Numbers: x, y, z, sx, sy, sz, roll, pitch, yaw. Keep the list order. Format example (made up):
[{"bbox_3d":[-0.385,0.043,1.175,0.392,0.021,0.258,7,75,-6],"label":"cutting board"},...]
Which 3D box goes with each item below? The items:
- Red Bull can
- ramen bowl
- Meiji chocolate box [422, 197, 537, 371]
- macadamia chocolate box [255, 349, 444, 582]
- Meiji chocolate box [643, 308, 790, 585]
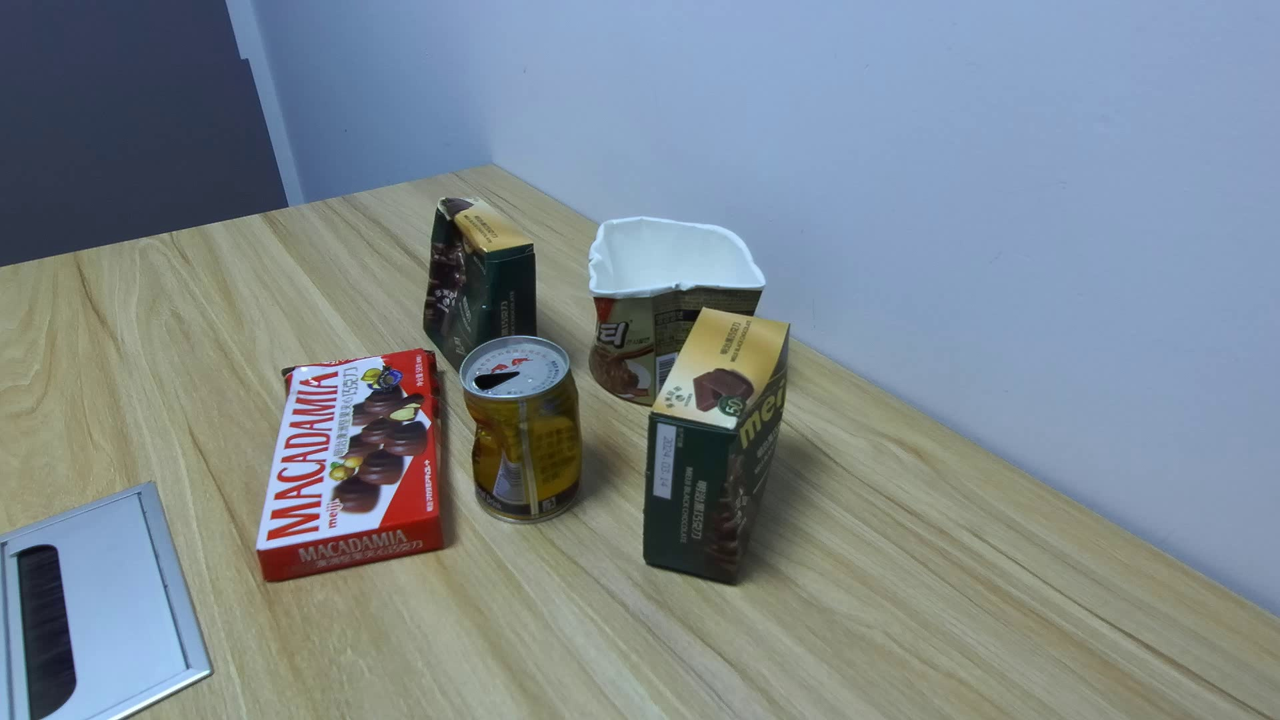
[{"bbox_3d":[-0.069,0.039,0.412,0.072,0.092,0.072,1,36,0],"label":"Red Bull can"},{"bbox_3d":[0.015,-0.042,0.526,0.114,0.098,0.133,-8,36,-10],"label":"ramen bowl"},{"bbox_3d":[-0.119,-0.051,0.527,0.052,0.117,0.116,-14,36,-34],"label":"Meiji chocolate box"},{"bbox_3d":[-0.177,0.054,0.449,0.106,0.028,0.182,-8,35,-15],"label":"macadamia chocolate box"},{"bbox_3d":[0.045,0.045,0.390,0.058,0.111,0.113,12,35,13],"label":"Meiji chocolate box"}]
